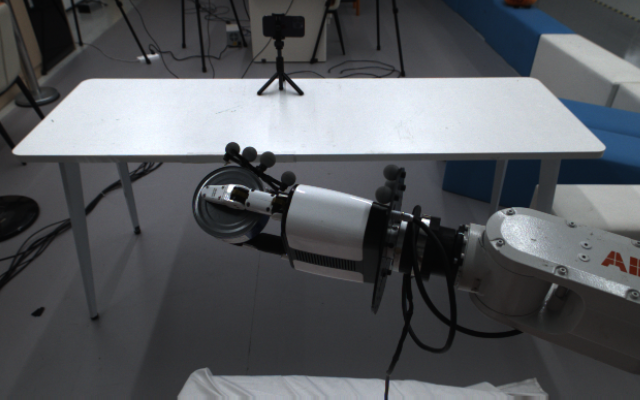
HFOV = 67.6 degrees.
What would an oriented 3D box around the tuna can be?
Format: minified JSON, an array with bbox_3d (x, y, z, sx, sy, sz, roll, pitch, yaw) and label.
[{"bbox_3d":[-0.099,0.006,0.558,0.085,0.034,0.085,-2,71,6],"label":"tuna can"}]
